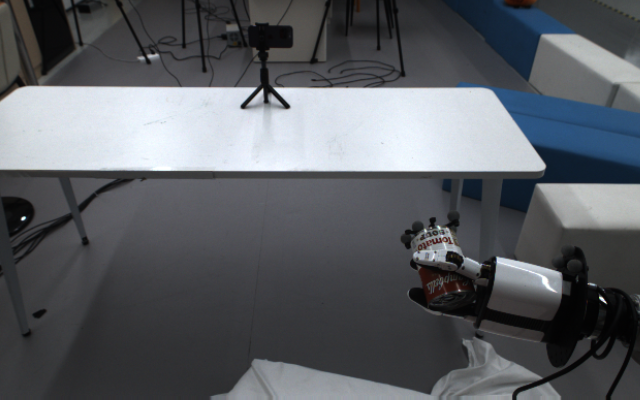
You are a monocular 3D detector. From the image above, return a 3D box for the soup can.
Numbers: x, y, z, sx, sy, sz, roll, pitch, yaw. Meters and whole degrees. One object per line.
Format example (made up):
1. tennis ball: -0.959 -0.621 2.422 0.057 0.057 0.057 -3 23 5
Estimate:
1. soup can: 0.173 0.094 0.679 0.067 0.067 0.101 -5 57 -10
